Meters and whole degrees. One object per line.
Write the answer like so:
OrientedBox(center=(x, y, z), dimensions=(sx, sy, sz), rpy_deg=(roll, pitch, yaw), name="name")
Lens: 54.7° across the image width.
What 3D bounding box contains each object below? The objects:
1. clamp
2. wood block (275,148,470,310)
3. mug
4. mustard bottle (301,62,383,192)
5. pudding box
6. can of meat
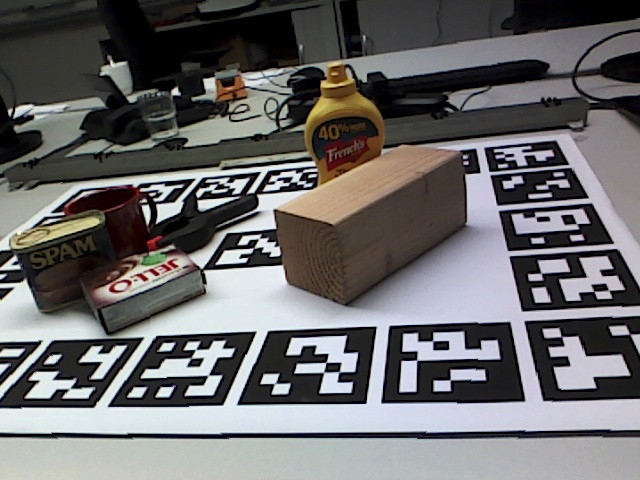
OrientedBox(center=(-0.167, -0.027, 0.822), dimensions=(0.122, 0.036, 0.165), rpy_deg=(7, 34, 28), name="clamp")
OrientedBox(center=(0.063, -0.021, 0.666), dimensions=(0.205, 0.090, 0.090), rpy_deg=(-29, 30, -35), name="wood block")
OrientedBox(center=(-0.254, -0.006, 0.803), dimensions=(0.094, 0.081, 0.117), rpy_deg=(8, 34, 32), name="mug")
OrientedBox(center=(0.029, -0.116, 0.740), dimensions=(0.096, 0.191, 0.058), rpy_deg=(-7, 27, 8), name="mustard bottle")
OrientedBox(center=(-0.189, 0.049, 0.672), dimensions=(0.113, 0.038, 0.090), rpy_deg=(-22, 29, -24), name="pudding box")
OrientedBox(center=(-0.286, 0.022, 0.700), dimensions=(0.101, 0.083, 0.058), rpy_deg=(-18, 29, -15), name="can of meat")
